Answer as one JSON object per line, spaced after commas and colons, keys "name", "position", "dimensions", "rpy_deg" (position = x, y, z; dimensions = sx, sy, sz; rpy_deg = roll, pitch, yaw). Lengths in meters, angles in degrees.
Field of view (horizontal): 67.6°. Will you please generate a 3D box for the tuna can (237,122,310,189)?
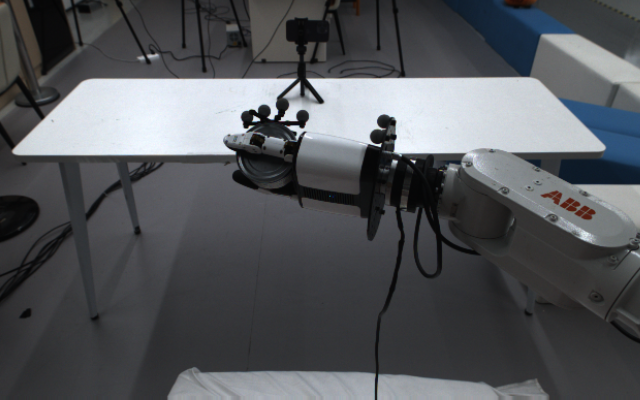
{"name": "tuna can", "position": [-0.067, -0.059, 0.654], "dimensions": [0.085, 0.034, 0.085], "rpy_deg": [-3, 73, 10]}
